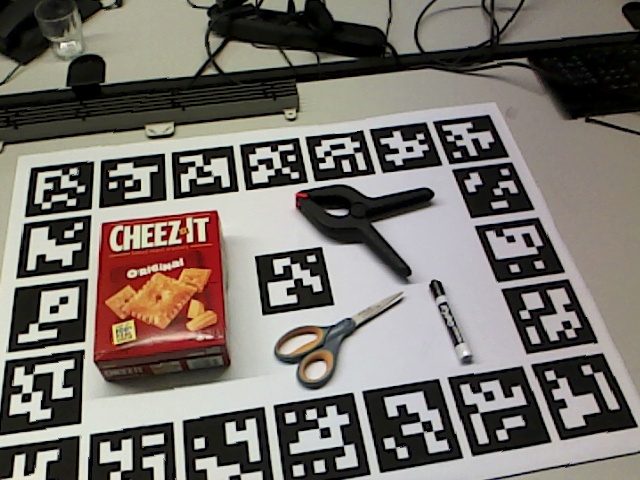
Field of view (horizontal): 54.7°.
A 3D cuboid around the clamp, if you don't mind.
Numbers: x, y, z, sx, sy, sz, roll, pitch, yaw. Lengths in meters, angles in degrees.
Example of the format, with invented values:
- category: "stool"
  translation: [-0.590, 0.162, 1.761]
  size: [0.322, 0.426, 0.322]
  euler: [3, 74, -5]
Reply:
- category: "clamp"
  translation: [0.046, -0.039, 0.966]
  size: [0.203, 0.036, 0.165]
  euler: [17, 54, 12]

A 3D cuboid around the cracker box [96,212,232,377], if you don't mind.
- category: "cracker box"
  translation: [-0.213, 0.068, 0.853]
  size: [0.164, 0.072, 0.214]
  euler: [-7, 54, -5]

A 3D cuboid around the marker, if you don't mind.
- category: "marker"
  translation: [0.171, 0.098, 0.857]
  size: [0.019, 0.019, 0.121]
  euler: [-11, 54, -8]

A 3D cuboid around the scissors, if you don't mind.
- category: "scissors"
  translation: [0.030, 0.115, 0.847]
  size: [0.202, 0.016, 0.088]
  euler: [-32, 58, -24]
